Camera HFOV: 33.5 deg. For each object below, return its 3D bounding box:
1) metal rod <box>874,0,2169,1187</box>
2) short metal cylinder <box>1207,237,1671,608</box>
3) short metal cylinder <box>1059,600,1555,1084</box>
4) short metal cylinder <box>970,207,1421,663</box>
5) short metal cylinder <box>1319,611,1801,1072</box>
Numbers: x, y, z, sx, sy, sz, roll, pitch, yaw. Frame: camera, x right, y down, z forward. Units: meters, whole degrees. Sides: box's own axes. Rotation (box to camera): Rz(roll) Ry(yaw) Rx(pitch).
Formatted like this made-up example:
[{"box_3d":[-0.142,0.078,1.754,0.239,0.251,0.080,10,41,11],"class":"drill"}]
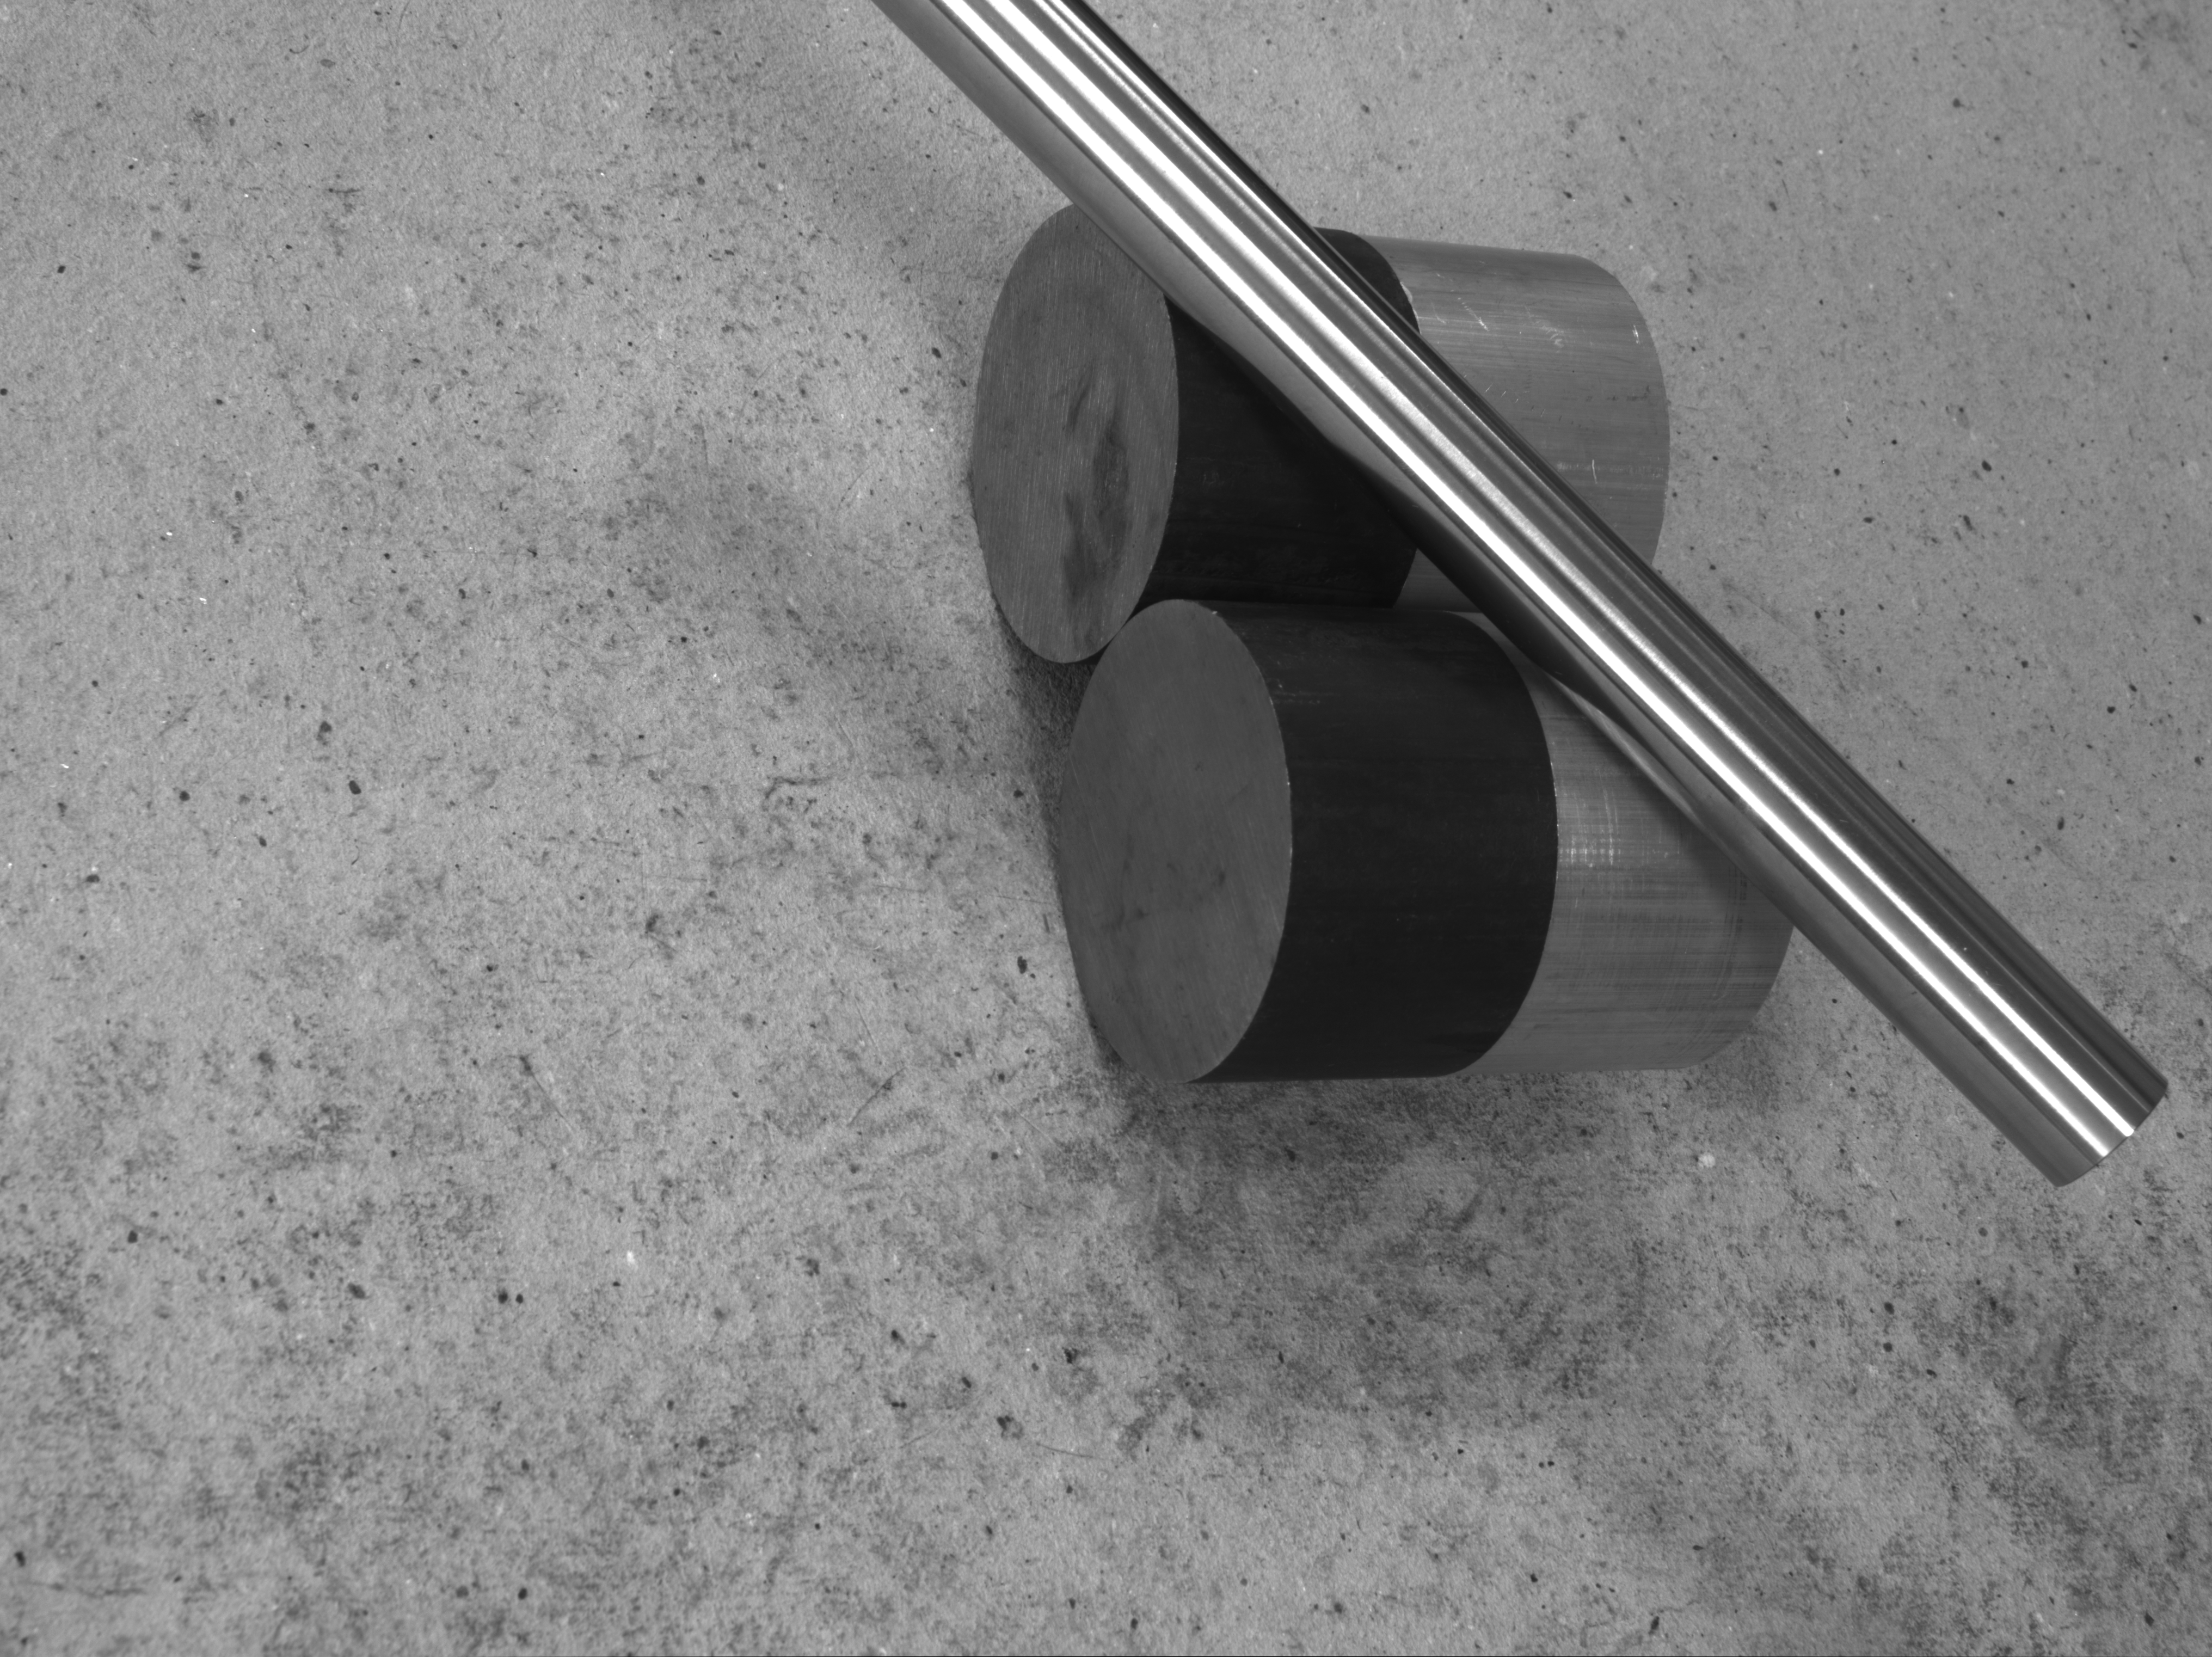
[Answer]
[{"box_3d":[0.058,-0.058,0.603,0.300,0.025,0.025,45,51,3],"class":"metal rod"},{"box_3d":[0.060,-0.068,0.678,0.050,0.080,0.080,1,61,-28],"class":"short metal cylinder"},{"box_3d":[0.032,0.003,0.621,0.050,0.080,0.080,1,61,-28],"class":"short metal cylinder"},{"box_3d":[0.016,-0.069,0.655,0.050,0.080,0.080,1,61,-28],"class":"short metal cylinder"},{"box_3d":[0.077,0.003,0.644,0.050,0.080,0.080,1,61,-28],"class":"short metal cylinder"}]
